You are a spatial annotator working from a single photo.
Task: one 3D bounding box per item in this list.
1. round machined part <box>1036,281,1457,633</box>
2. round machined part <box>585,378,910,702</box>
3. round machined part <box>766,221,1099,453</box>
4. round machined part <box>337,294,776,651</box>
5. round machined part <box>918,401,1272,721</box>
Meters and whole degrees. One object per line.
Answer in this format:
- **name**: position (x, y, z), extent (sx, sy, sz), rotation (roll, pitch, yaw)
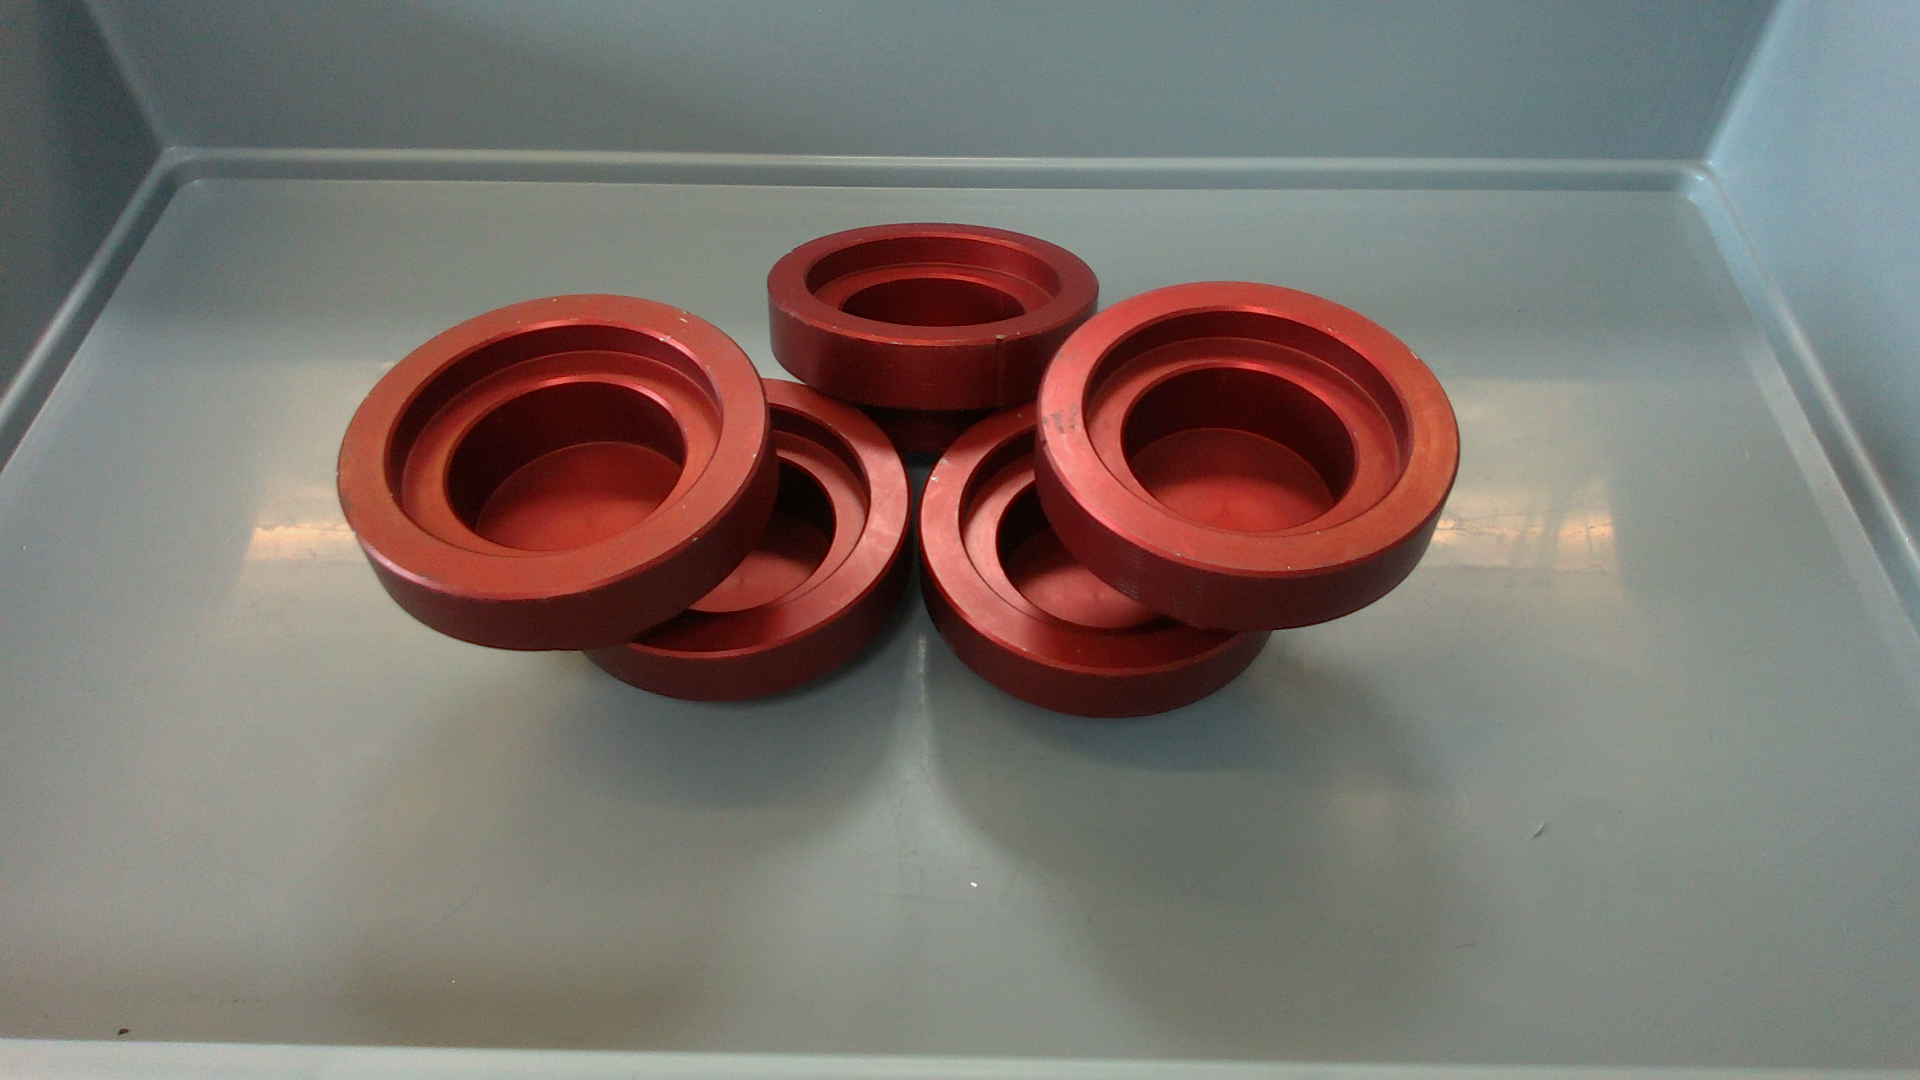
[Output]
- **round machined part**: position (0.067, -0.016, 0.339), extent (0.098, 0.042, 0.098), rotation (0, 50, 0)
- **round machined part**: position (-0.062, 0.004, 0.376), extent (0.098, 0.042, 0.098), rotation (0, 50, 0)
- **round machined part**: position (-0.008, -0.060, 0.417), extent (0.098, 0.042, 0.098), rotation (1, 32, 0)
- **round machined part**: position (-0.094, -0.012, 0.335), extent (0.098, 0.042, 0.098), rotation (0, 50, 0)
- **round machined part**: position (0.038, 0.008, 0.373), extent (0.098, 0.042, 0.098), rotation (0, 50, 0)
